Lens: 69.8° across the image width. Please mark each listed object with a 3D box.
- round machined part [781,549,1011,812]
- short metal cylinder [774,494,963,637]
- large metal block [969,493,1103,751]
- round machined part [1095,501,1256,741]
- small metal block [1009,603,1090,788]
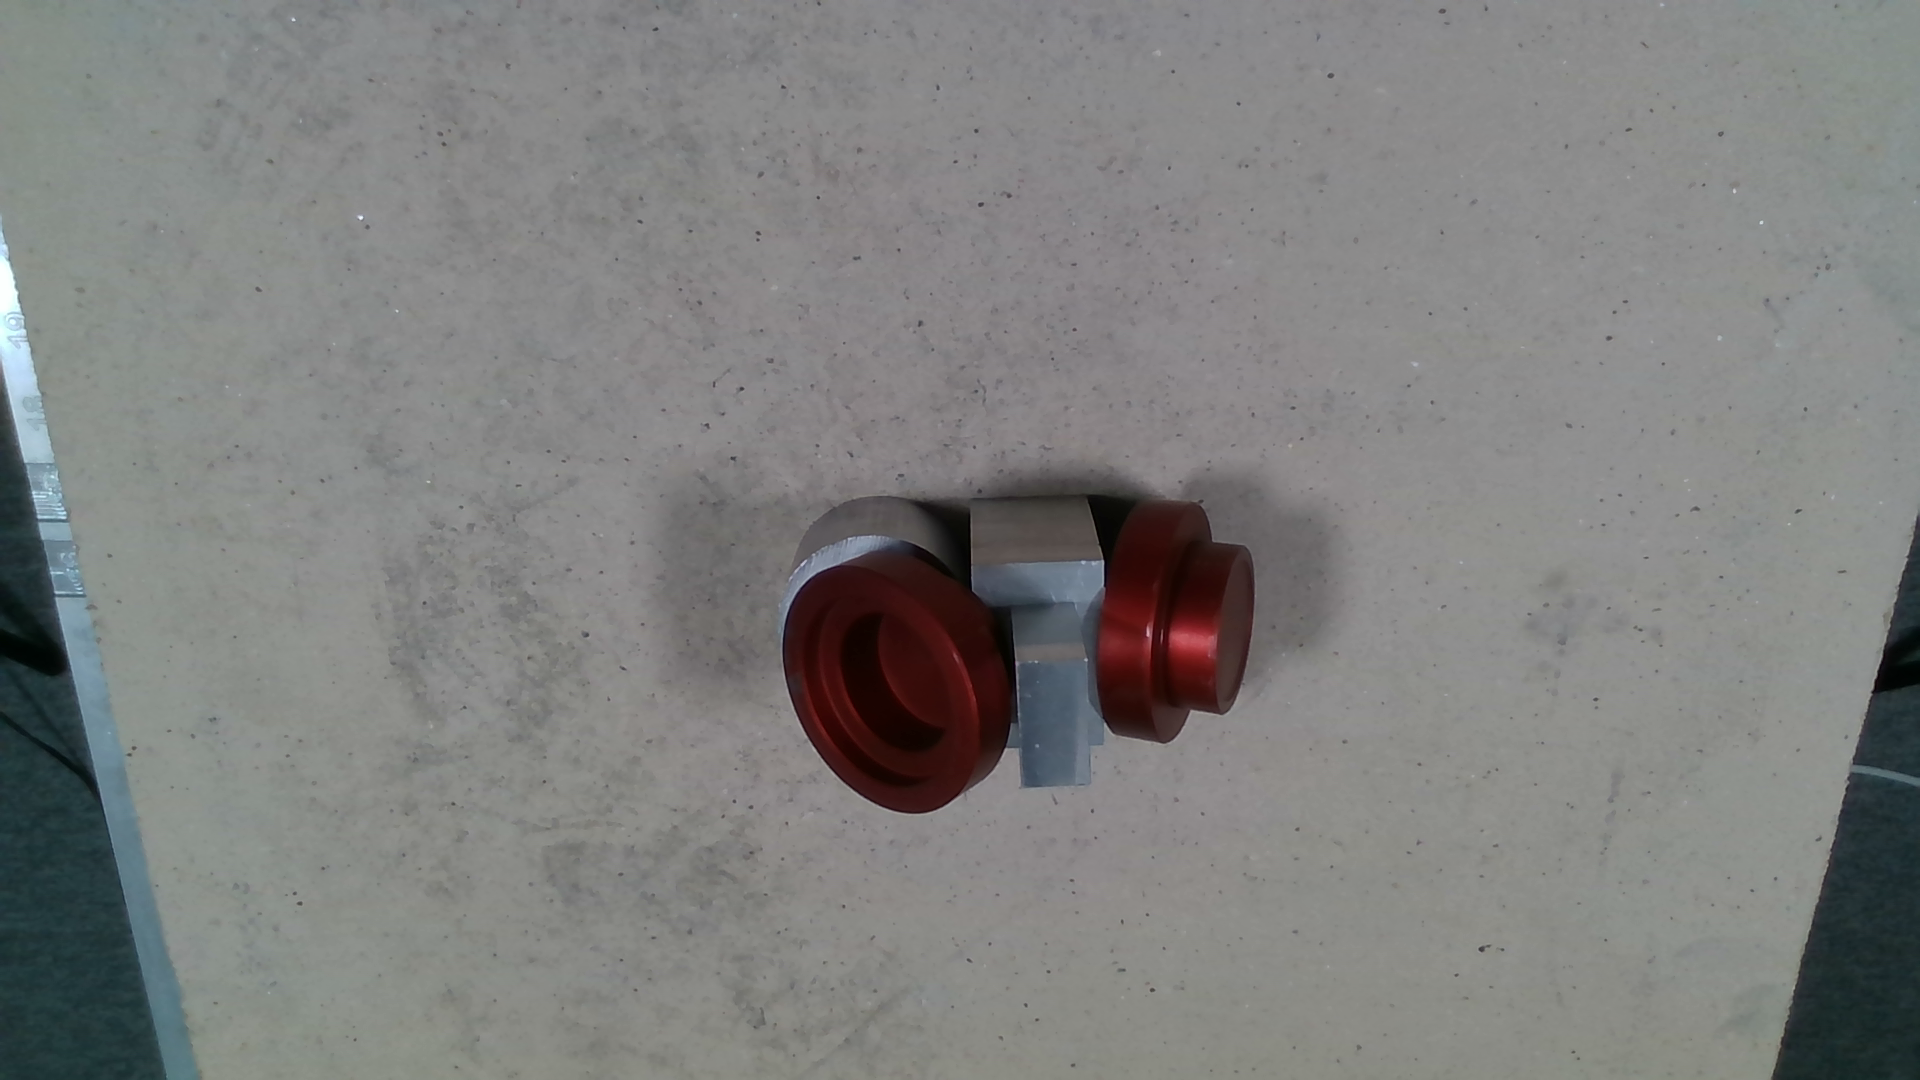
[{"bbox_3d":[-0.019,0.050,0.524,0.098,0.042,0.098,16,117,35],"label":"round machined part"},{"bbox_3d":[-0.035,0.027,0.582,0.080,0.050,0.080,0,110,0],"label":"short metal cylinder"},{"bbox_3d":[0.030,0.032,0.566,0.050,0.080,0.080,-2,110,1],"label":"large metal block"},{"bbox_3d":[0.090,0.033,0.554,0.042,0.098,0.098,7,112,24],"label":"round machined part"},{"bbox_3d":[0.033,0.056,0.506,0.025,0.050,0.050,-3,110,1],"label":"small metal block"}]
